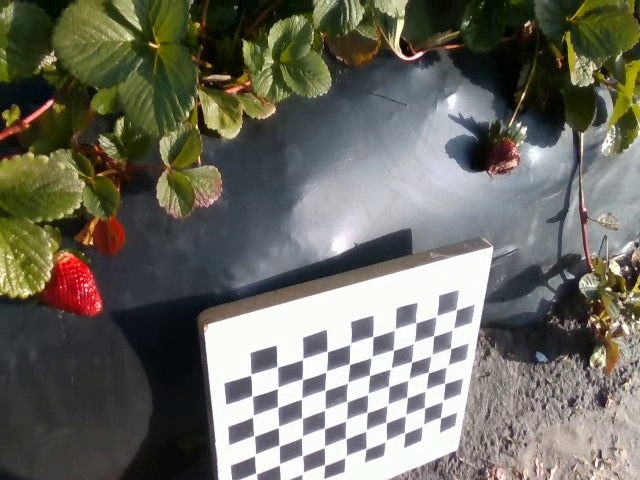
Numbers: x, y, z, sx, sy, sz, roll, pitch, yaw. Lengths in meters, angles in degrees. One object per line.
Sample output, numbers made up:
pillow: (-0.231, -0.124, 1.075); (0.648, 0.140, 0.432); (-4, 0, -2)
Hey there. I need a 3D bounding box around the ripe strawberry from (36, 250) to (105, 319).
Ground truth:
ripe strawberry: (-0.171, 0.034, 0.454); (0.056, 0.041, 0.040); (38, 10, 4)
